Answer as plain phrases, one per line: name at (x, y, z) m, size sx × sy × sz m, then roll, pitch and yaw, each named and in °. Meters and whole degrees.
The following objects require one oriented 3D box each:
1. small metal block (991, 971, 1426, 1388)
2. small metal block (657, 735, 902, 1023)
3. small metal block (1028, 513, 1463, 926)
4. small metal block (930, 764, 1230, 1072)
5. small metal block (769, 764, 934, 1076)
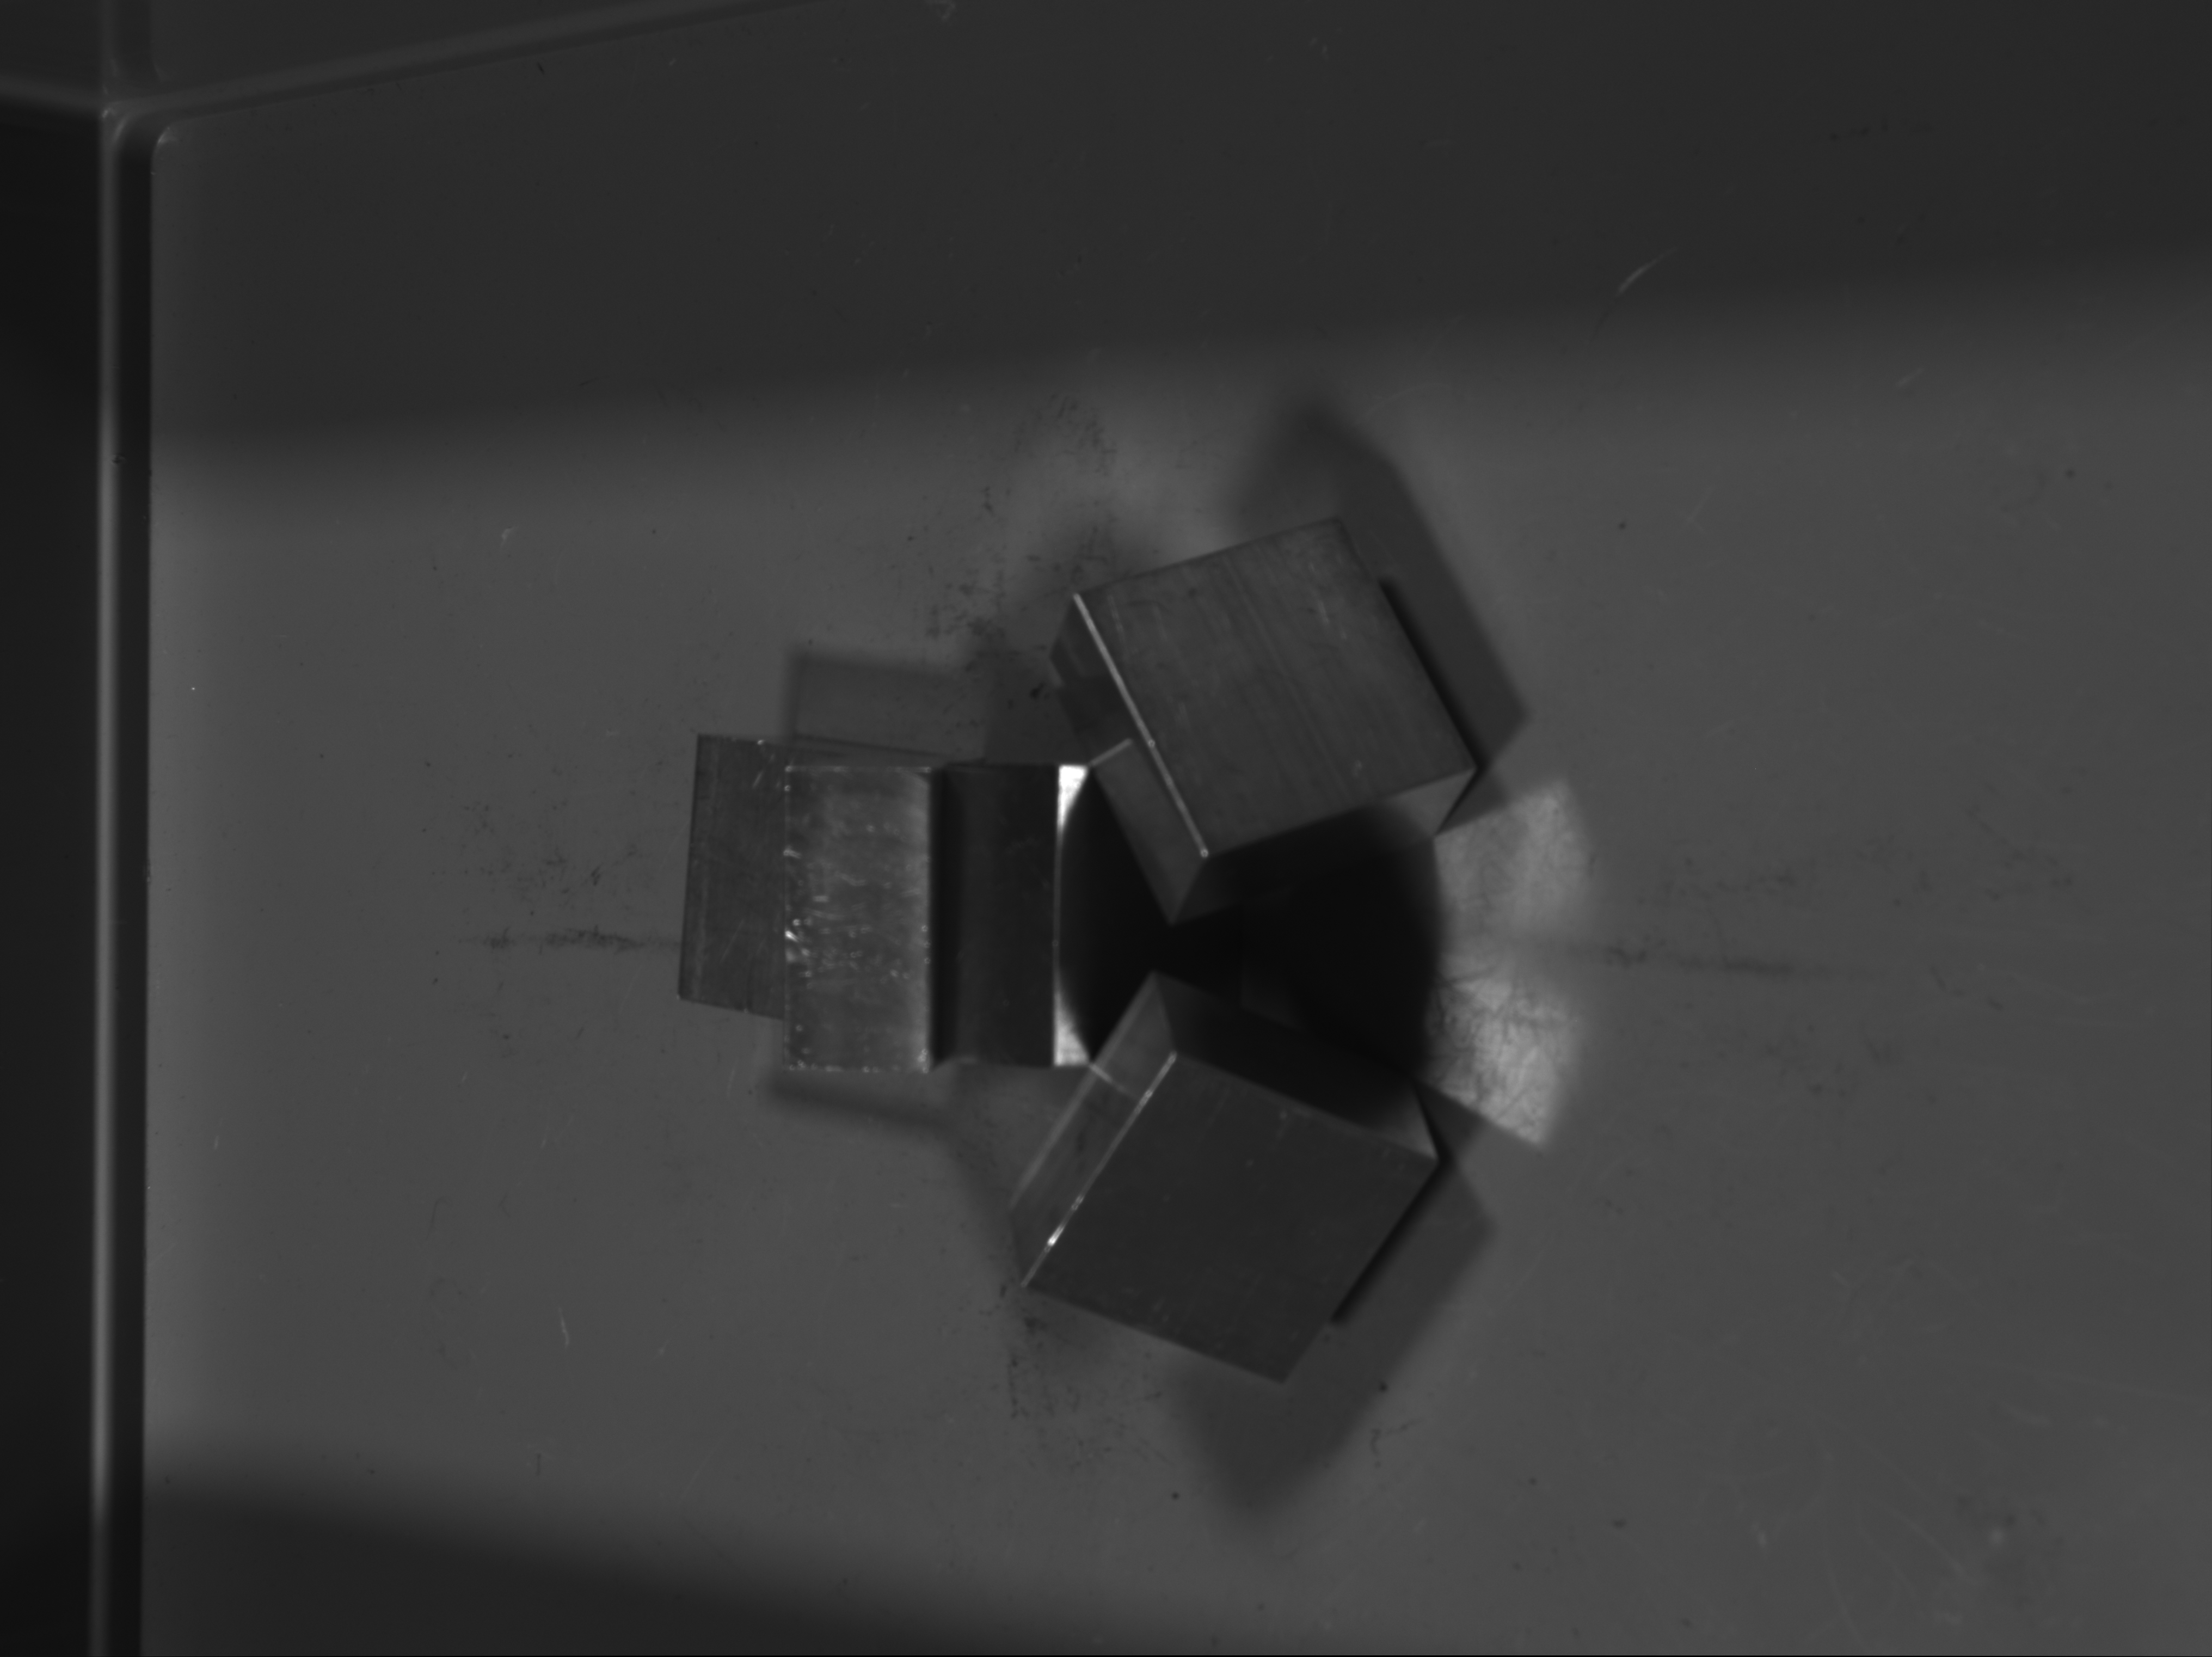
small metal block at (0.016, 0.058, 0.602) m, size 0.050 × 0.050 × 0.025 m, roll -58°, pitch 22°, yaw 23°
small metal block at (-0.055, 0.010, 0.678) m, size 0.050 × 0.025 × 0.050 m, roll 8°, pitch 95°, yaw 39°
small metal block at (0.022, -0.018, 0.597) m, size 0.050 × 0.050 × 0.025 m, roll 64°, pitch 157°, yaw 20°
small metal block at (-0.004, 0.015, 0.622) m, size 0.025 × 0.050 × 0.050 m, roll 1°, pitch 91°, yaw 39°
small metal block at (-0.040, 0.014, 0.628) m, size 0.025 × 0.050 × 0.050 m, roll 1°, pitch 94°, yaw 8°
